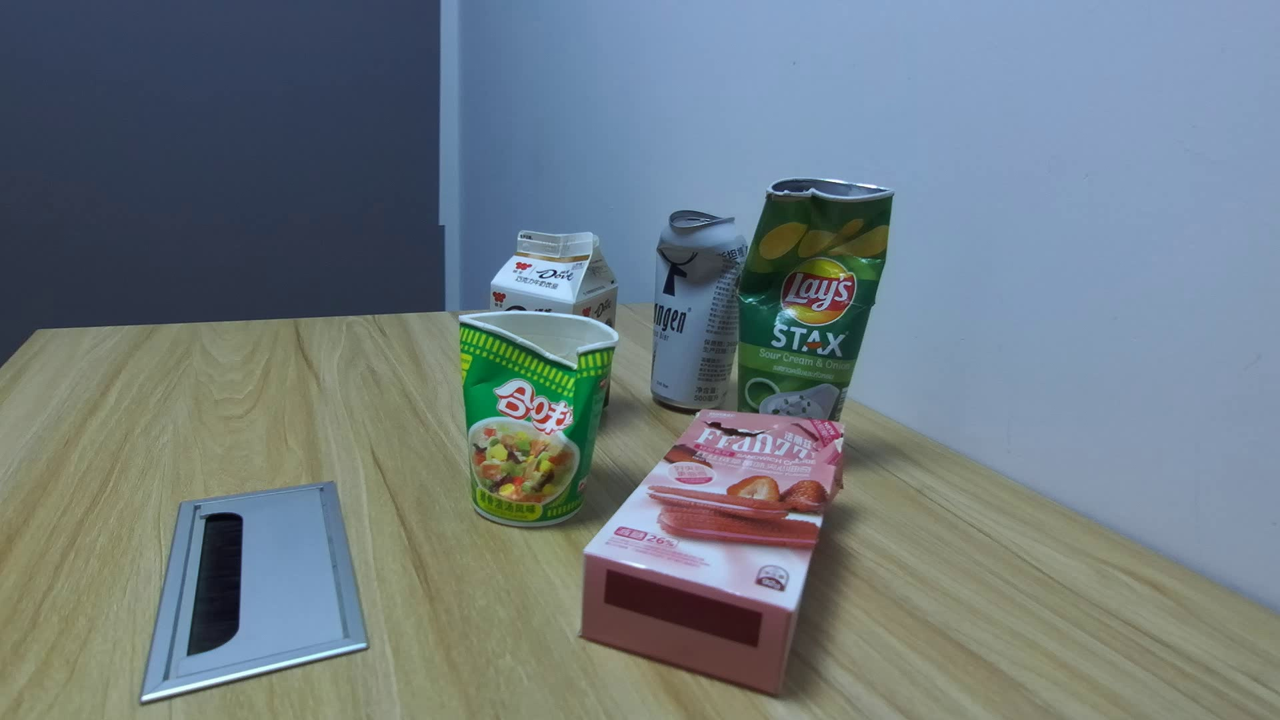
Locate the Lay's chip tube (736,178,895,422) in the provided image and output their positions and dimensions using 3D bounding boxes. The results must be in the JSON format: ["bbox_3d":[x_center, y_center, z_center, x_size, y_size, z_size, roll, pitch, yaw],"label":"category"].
[{"bbox_3d":[0.113,-0.023,0.494,0.077,0.201,0.069,-7,21,-24],"label":"Lay's chip tube"}]

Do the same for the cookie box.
[{"bbox_3d":[0.048,0.087,0.383,0.104,0.059,0.186,9,22,21],"label":"cookie box"}]

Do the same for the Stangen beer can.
[{"bbox_3d":[0.046,-0.040,0.591,0.077,0.162,0.066,6,17,6],"label":"Stangen beer can"}]

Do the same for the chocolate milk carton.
[{"bbox_3d":[-0.066,-0.027,0.546,0.075,0.148,0.074,13,21,23],"label":"chocolate milk carton"}]

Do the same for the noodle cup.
[{"bbox_3d":[-0.061,0.034,0.422,0.075,0.122,0.082,1,8,-35],"label":"noodle cup"}]
